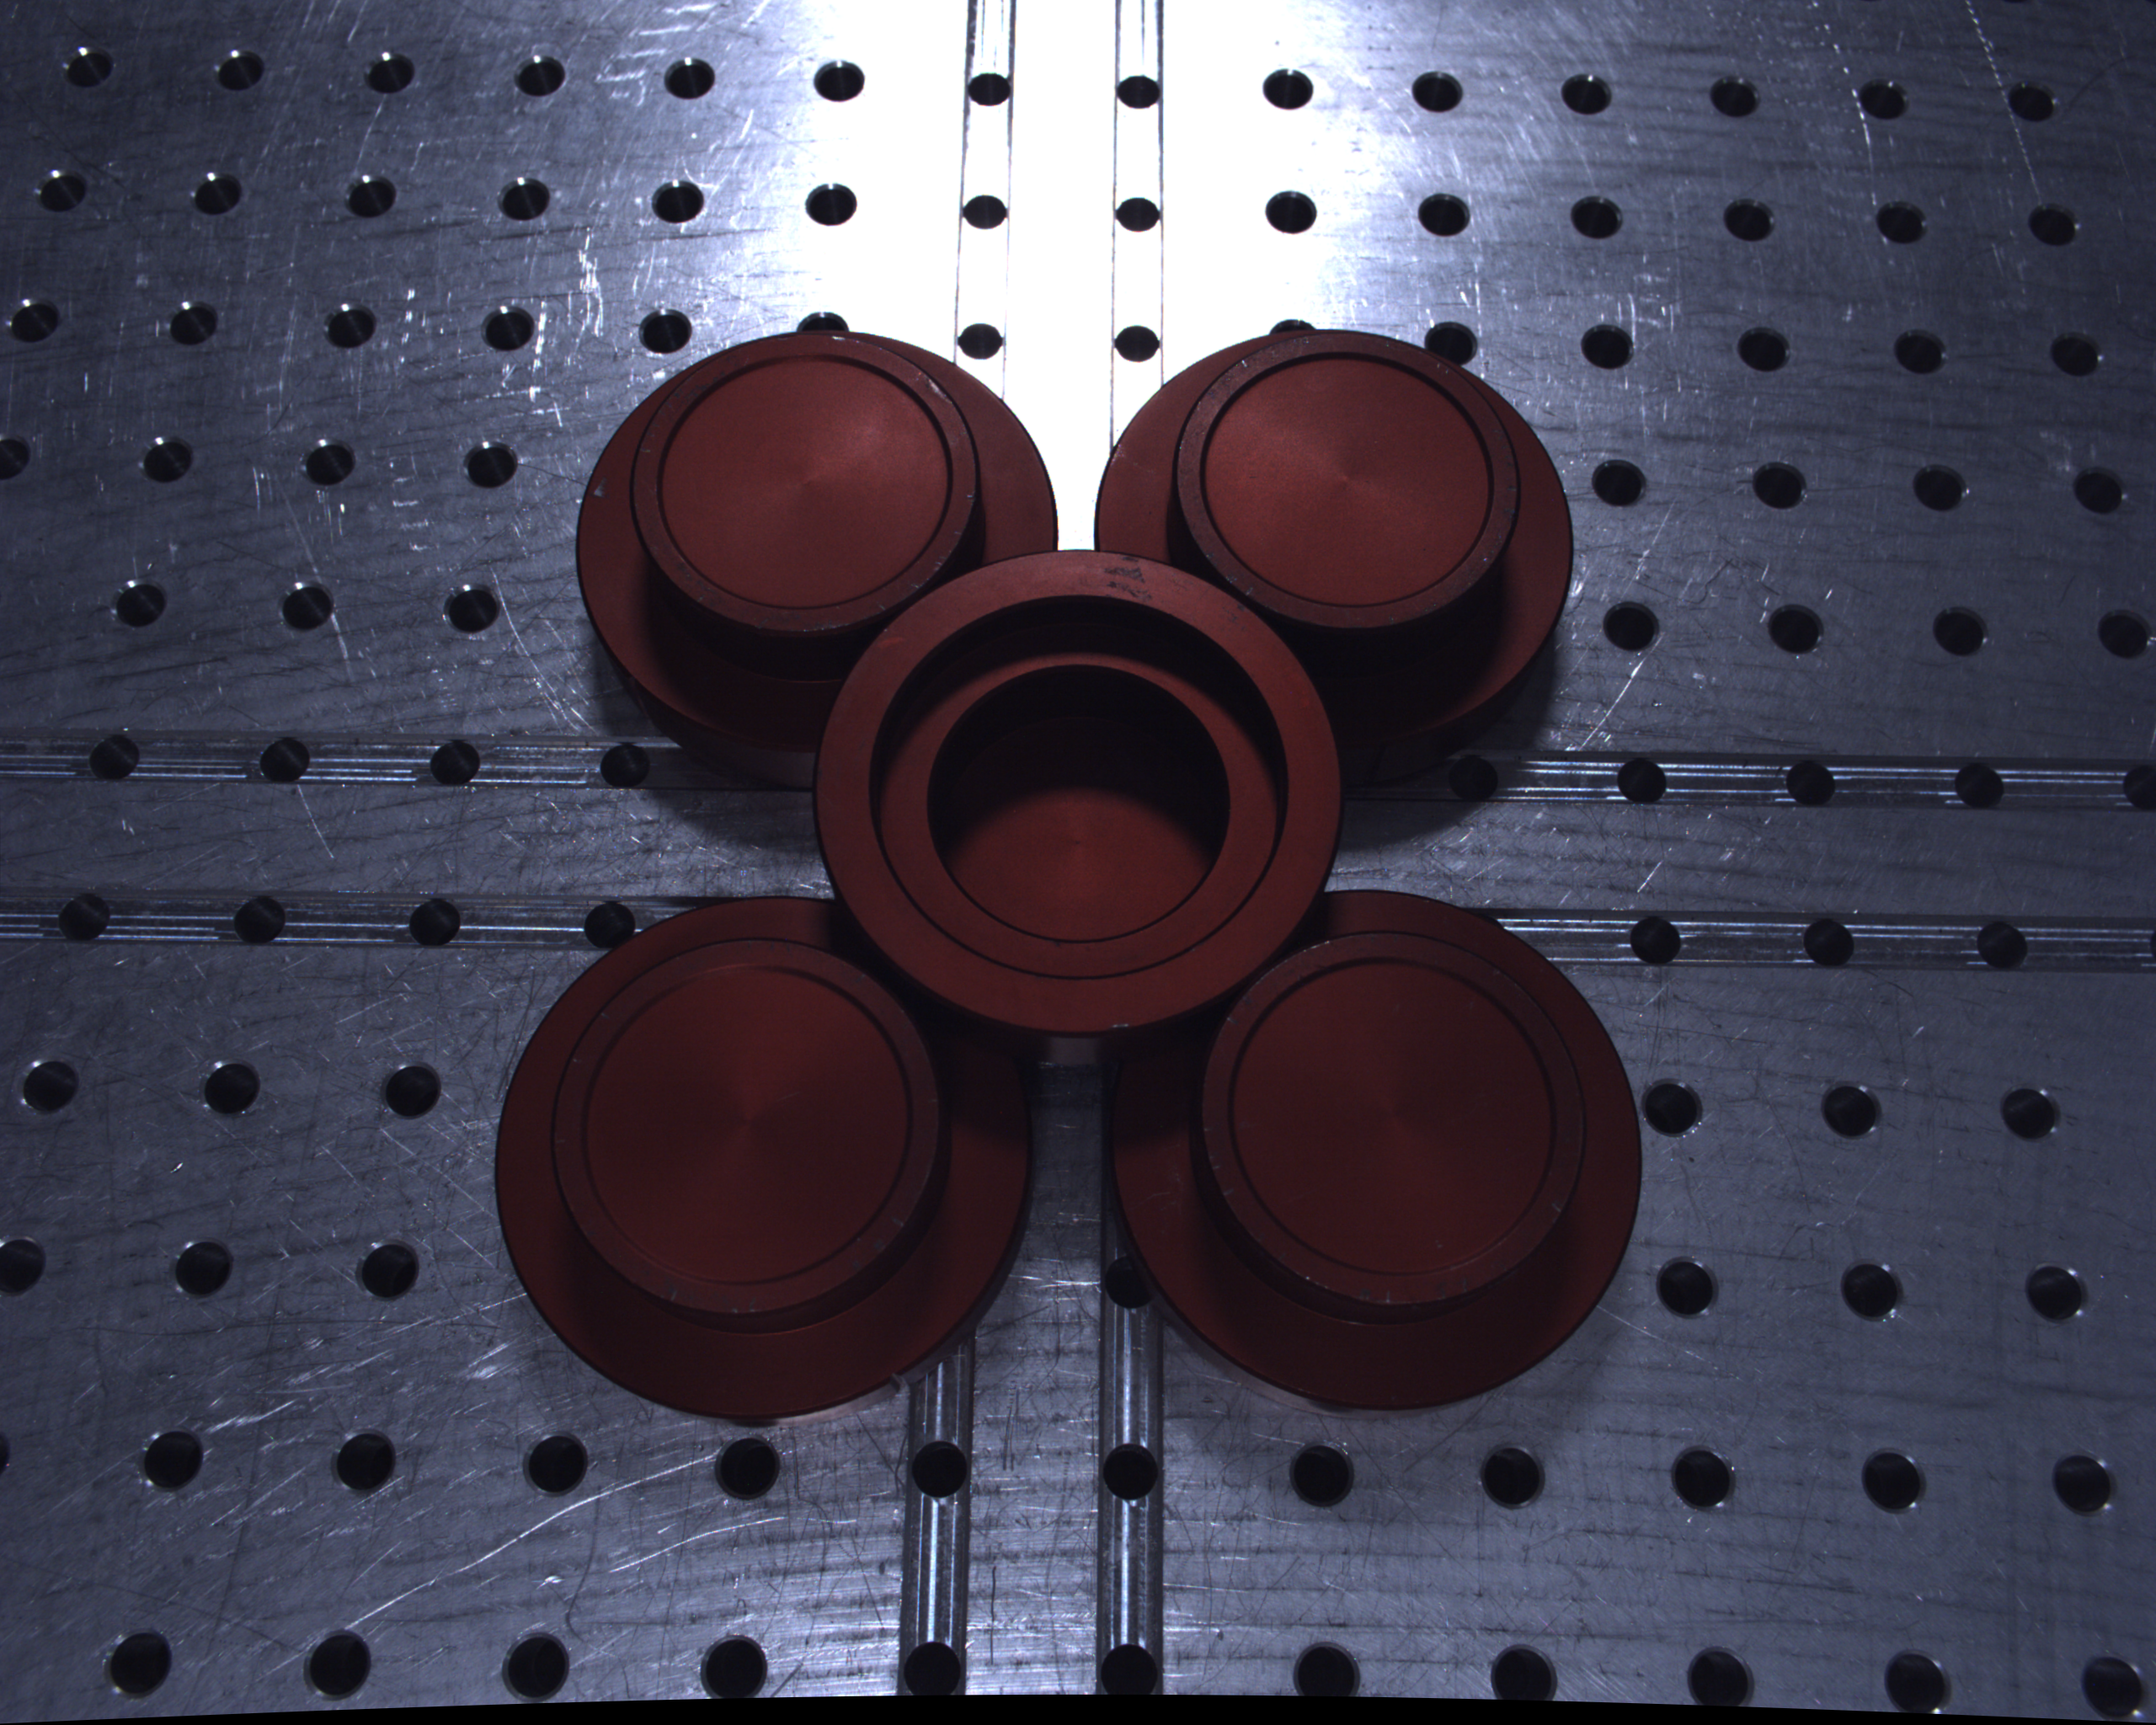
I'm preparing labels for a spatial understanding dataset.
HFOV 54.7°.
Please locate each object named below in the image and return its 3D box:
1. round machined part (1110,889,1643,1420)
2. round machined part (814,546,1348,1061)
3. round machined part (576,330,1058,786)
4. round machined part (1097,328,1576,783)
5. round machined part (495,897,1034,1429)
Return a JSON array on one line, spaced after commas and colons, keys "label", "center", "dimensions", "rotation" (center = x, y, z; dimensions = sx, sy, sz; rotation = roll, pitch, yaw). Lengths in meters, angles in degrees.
[{"label": "round machined part", "center": [0.055, 0.051, 0.384], "dimensions": [0.099, 0.042, 0.098], "rotation": [0, 70, -1]}, {"label": "round machined part", "center": [0.001, -0.009, 0.404], "dimensions": [0.099, 0.042, 0.098], "rotation": [0, 70, -1]}, {"label": "round machined part", "center": [-0.053, -0.068, 0.426], "dimensions": [0.099, 0.042, 0.098], "rotation": [0, 70, -1]}, {"label": "round machined part", "center": [0.053, -0.069, 0.428], "dimensions": [0.099, 0.042, 0.098], "rotation": [0, 70, -1]}, {"label": "round machined part", "center": [-0.058, 0.052, 0.383], "dimensions": [0.099, 0.042, 0.098], "rotation": [0, 70, -1]}]
